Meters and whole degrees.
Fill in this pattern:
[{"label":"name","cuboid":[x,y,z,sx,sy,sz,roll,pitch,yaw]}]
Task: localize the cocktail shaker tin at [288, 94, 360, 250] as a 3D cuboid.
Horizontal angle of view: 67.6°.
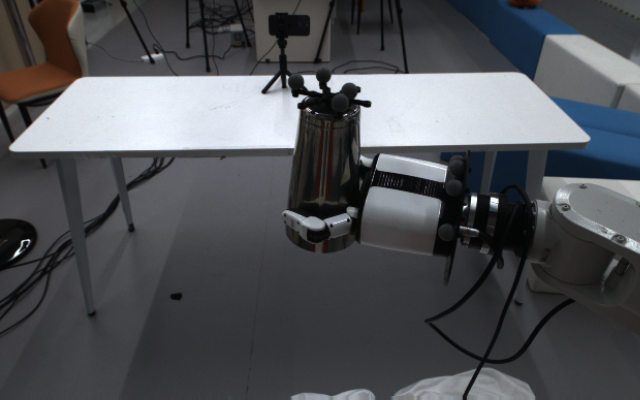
[{"label":"cocktail shaker tin","cuboid":[0.008,-0.033,0.569,0.093,0.170,0.093,3,34,-2]}]
